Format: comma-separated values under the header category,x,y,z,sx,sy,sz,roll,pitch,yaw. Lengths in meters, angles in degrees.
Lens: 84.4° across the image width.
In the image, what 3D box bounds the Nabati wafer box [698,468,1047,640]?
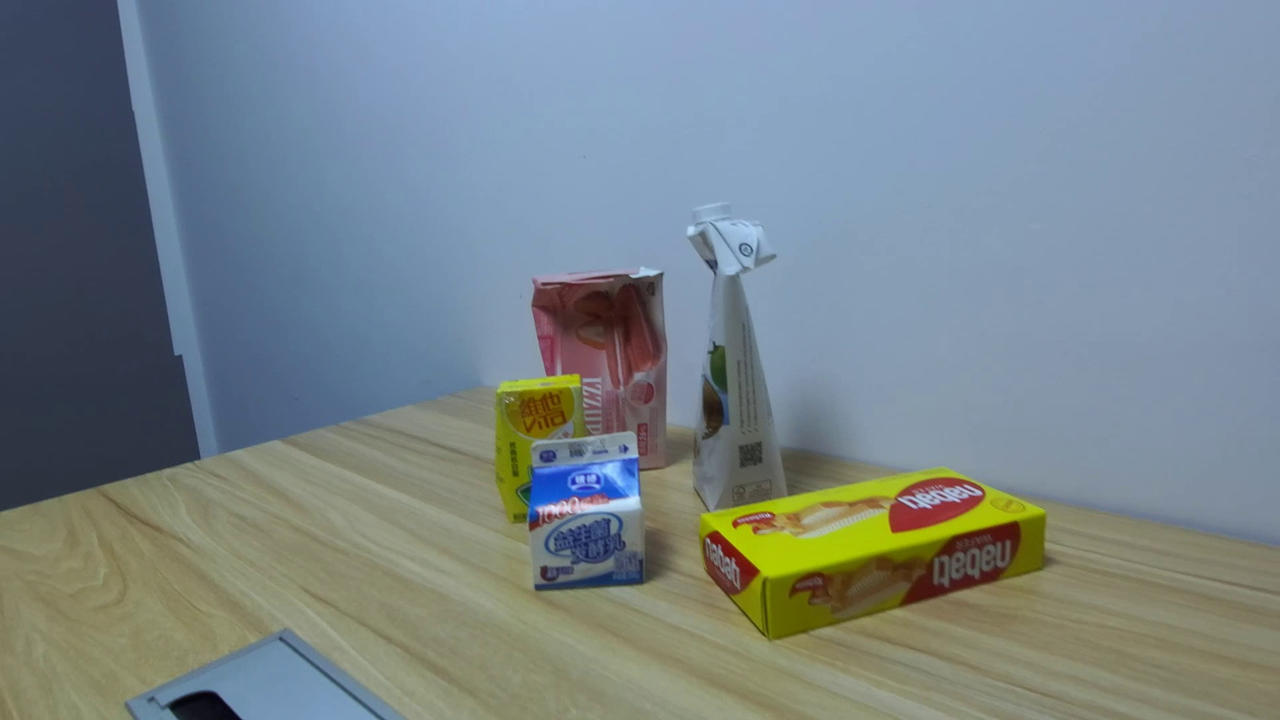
category,x,y,z,sx,sy,sz,roll,pitch,yaw
Nabati wafer box,0.149,0.117,0.458,0.203,0.042,0.092,-7,12,-18

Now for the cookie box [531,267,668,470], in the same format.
category,x,y,z,sx,sy,sz,roll,pitch,yaw
cookie box,-0.034,0.012,0.643,0.118,0.184,0.055,-5,13,-4

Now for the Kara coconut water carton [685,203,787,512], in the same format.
category,x,y,z,sx,sy,sz,roll,pitch,yaw
Kara coconut water carton,0.074,-0.002,0.558,0.069,0.238,0.115,-5,12,-7

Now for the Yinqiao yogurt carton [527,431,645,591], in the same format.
category,x,y,z,sx,sy,sz,roll,pitch,yaw
Yinqiao yogurt carton,-0.036,0.095,0.476,0.075,0.092,0.073,-4,13,0

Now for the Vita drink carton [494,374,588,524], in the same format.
category,x,y,z,sx,sy,sz,roll,pitch,yaw
Vita drink carton,-0.079,0.070,0.564,0.076,0.109,0.043,-4,13,-4
